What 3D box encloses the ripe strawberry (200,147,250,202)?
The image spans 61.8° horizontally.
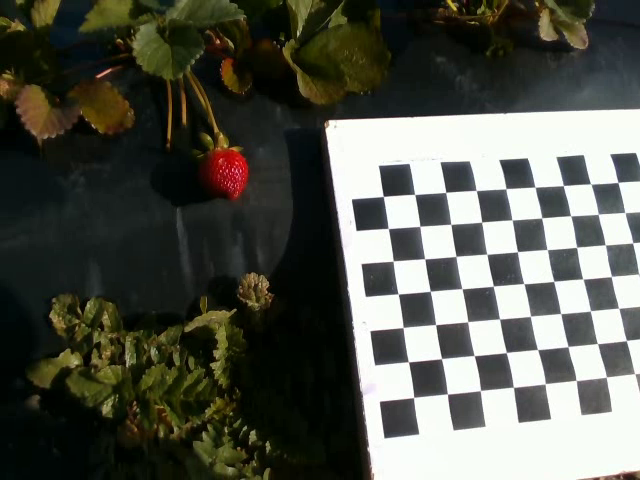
[{"bbox_3d":[-0.063,-0.042,0.354,0.040,0.044,0.036,-24,-19,-14],"label":"ripe strawberry"}]
